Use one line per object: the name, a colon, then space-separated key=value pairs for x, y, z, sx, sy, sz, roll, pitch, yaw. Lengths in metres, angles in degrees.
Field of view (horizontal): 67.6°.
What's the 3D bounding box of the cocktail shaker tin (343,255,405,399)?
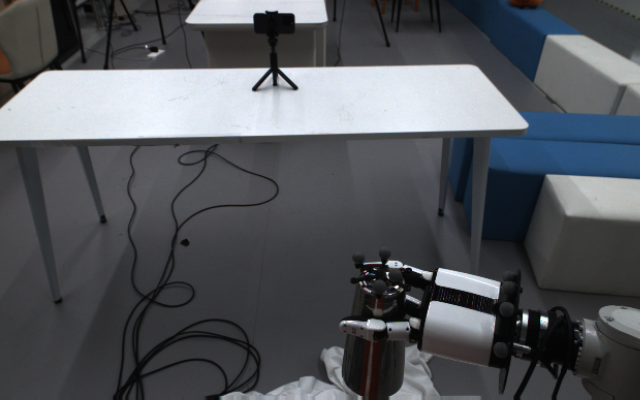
cocktail shaker tin: x=0.082 y=0.181 z=0.687 sx=0.093 sy=0.170 sz=0.093 roll=1 pitch=26 yaw=-1
